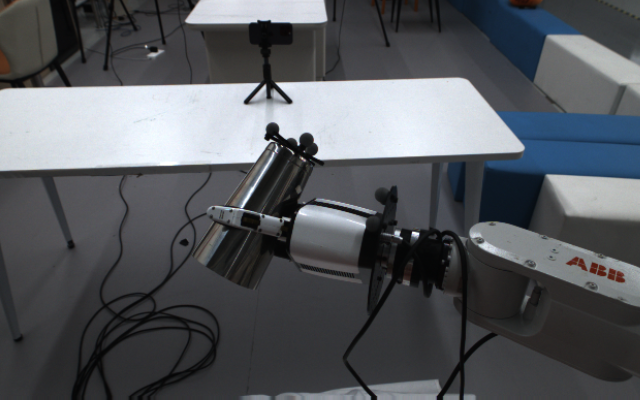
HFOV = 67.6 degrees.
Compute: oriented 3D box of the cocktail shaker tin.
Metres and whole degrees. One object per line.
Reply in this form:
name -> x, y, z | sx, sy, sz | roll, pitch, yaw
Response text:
cocktail shaker tin -> -0.078, 0.012, 0.613 | 0.093, 0.093, 0.170 | 27, 84, 31
